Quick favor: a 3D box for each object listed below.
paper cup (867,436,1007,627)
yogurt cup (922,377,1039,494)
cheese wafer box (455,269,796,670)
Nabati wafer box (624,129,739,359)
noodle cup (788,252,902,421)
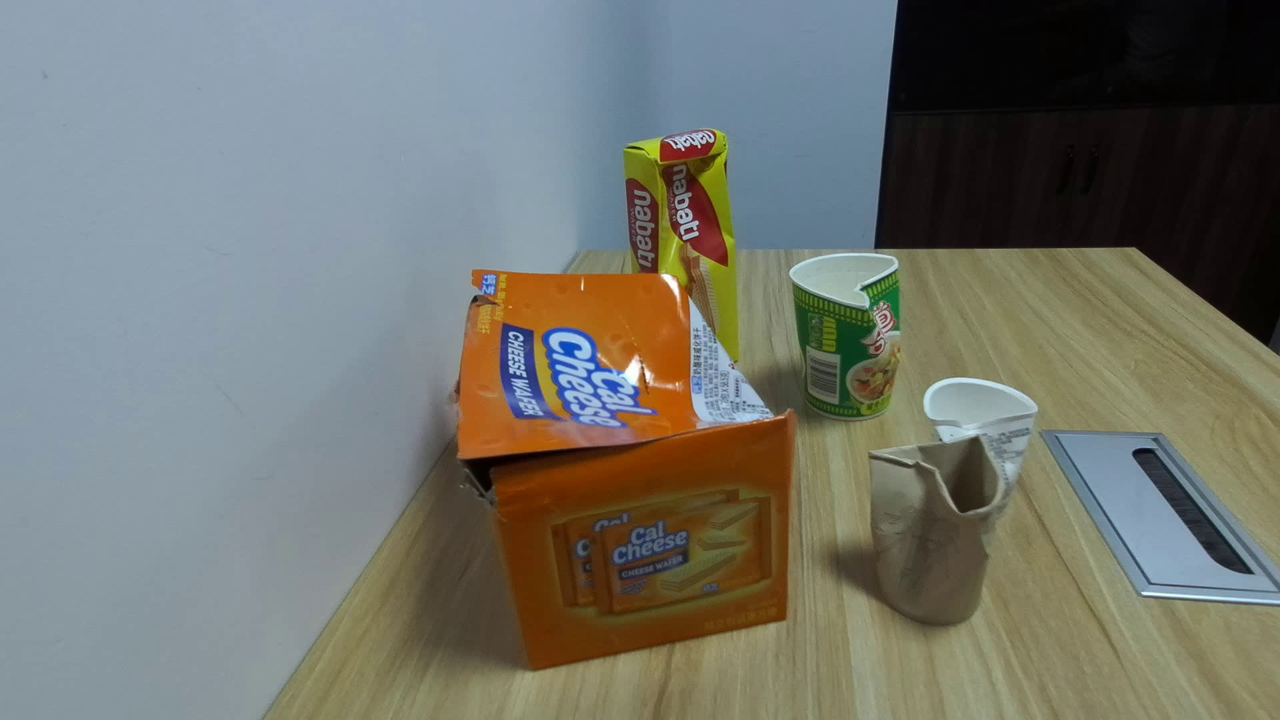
[{"bbox_3d":[0.154,0.091,0.378,0.058,0.083,0.066,-1,26,10],"label":"paper cup"},{"bbox_3d":[0.211,0.057,0.450,0.067,0.070,0.067,-4,29,3],"label":"yogurt cup"},{"bbox_3d":[-0.005,0.038,0.434,0.191,0.145,0.218,-9,29,-8],"label":"cheese wafer box"},{"bbox_3d":[0.039,-0.078,0.583,0.097,0.203,0.042,-22,29,-35],"label":"Nabati wafer box"},{"bbox_3d":[0.162,-0.018,0.549,0.094,0.109,0.086,-24,34,-30],"label":"noodle cup"}]
